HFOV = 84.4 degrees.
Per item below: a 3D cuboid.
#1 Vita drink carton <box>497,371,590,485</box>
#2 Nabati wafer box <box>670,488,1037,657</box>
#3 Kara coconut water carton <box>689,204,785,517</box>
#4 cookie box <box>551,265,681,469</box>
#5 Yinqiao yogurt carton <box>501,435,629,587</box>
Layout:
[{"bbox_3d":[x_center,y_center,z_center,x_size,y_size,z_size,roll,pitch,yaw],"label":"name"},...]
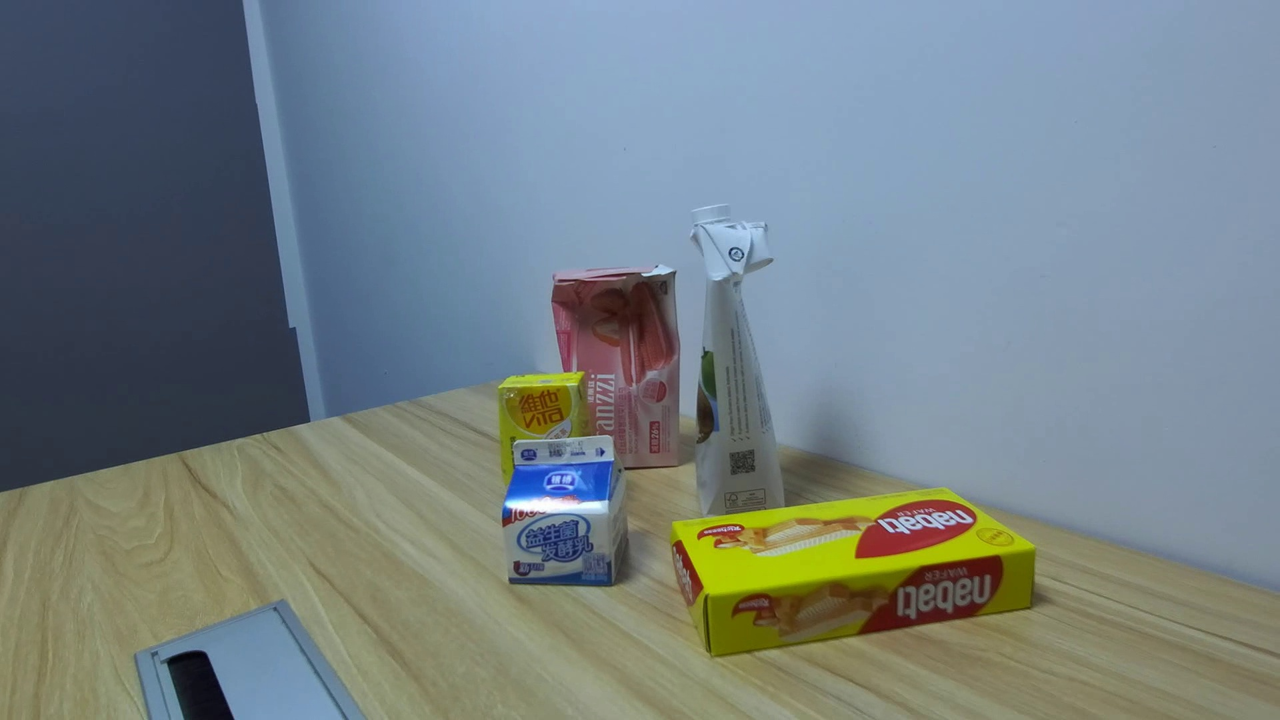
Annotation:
[{"bbox_3d":[-0.078,0.067,0.579,0.076,0.109,0.043,-2,14,5],"label":"Vita drink carton"},{"bbox_3d":[0.127,0.126,0.441,0.203,0.042,0.092,-5,13,-9],"label":"Nabati wafer box"},{"bbox_3d":[0.072,0.002,0.548,0.069,0.238,0.115,-3,13,2],"label":"Kara coconut water carton"},{"bbox_3d":[-0.020,0.009,0.651,0.118,0.184,0.055,-3,14,5],"label":"cookie box"},{"bbox_3d":[-0.051,0.096,0.488,0.075,0.092,0.074,-2,15,8],"label":"Yinqiao yogurt carton"}]
